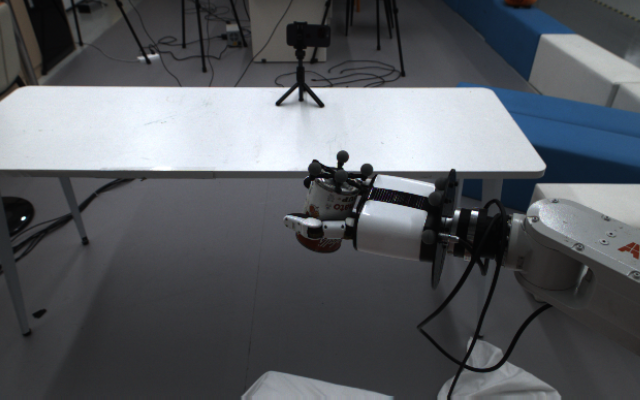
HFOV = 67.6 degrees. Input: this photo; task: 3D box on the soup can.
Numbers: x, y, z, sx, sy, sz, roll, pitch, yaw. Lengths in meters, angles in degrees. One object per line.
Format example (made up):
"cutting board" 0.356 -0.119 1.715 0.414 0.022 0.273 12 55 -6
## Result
"soup can" 0.012 0.014 0.669 0.067 0.101 0.067 13 30 -8
